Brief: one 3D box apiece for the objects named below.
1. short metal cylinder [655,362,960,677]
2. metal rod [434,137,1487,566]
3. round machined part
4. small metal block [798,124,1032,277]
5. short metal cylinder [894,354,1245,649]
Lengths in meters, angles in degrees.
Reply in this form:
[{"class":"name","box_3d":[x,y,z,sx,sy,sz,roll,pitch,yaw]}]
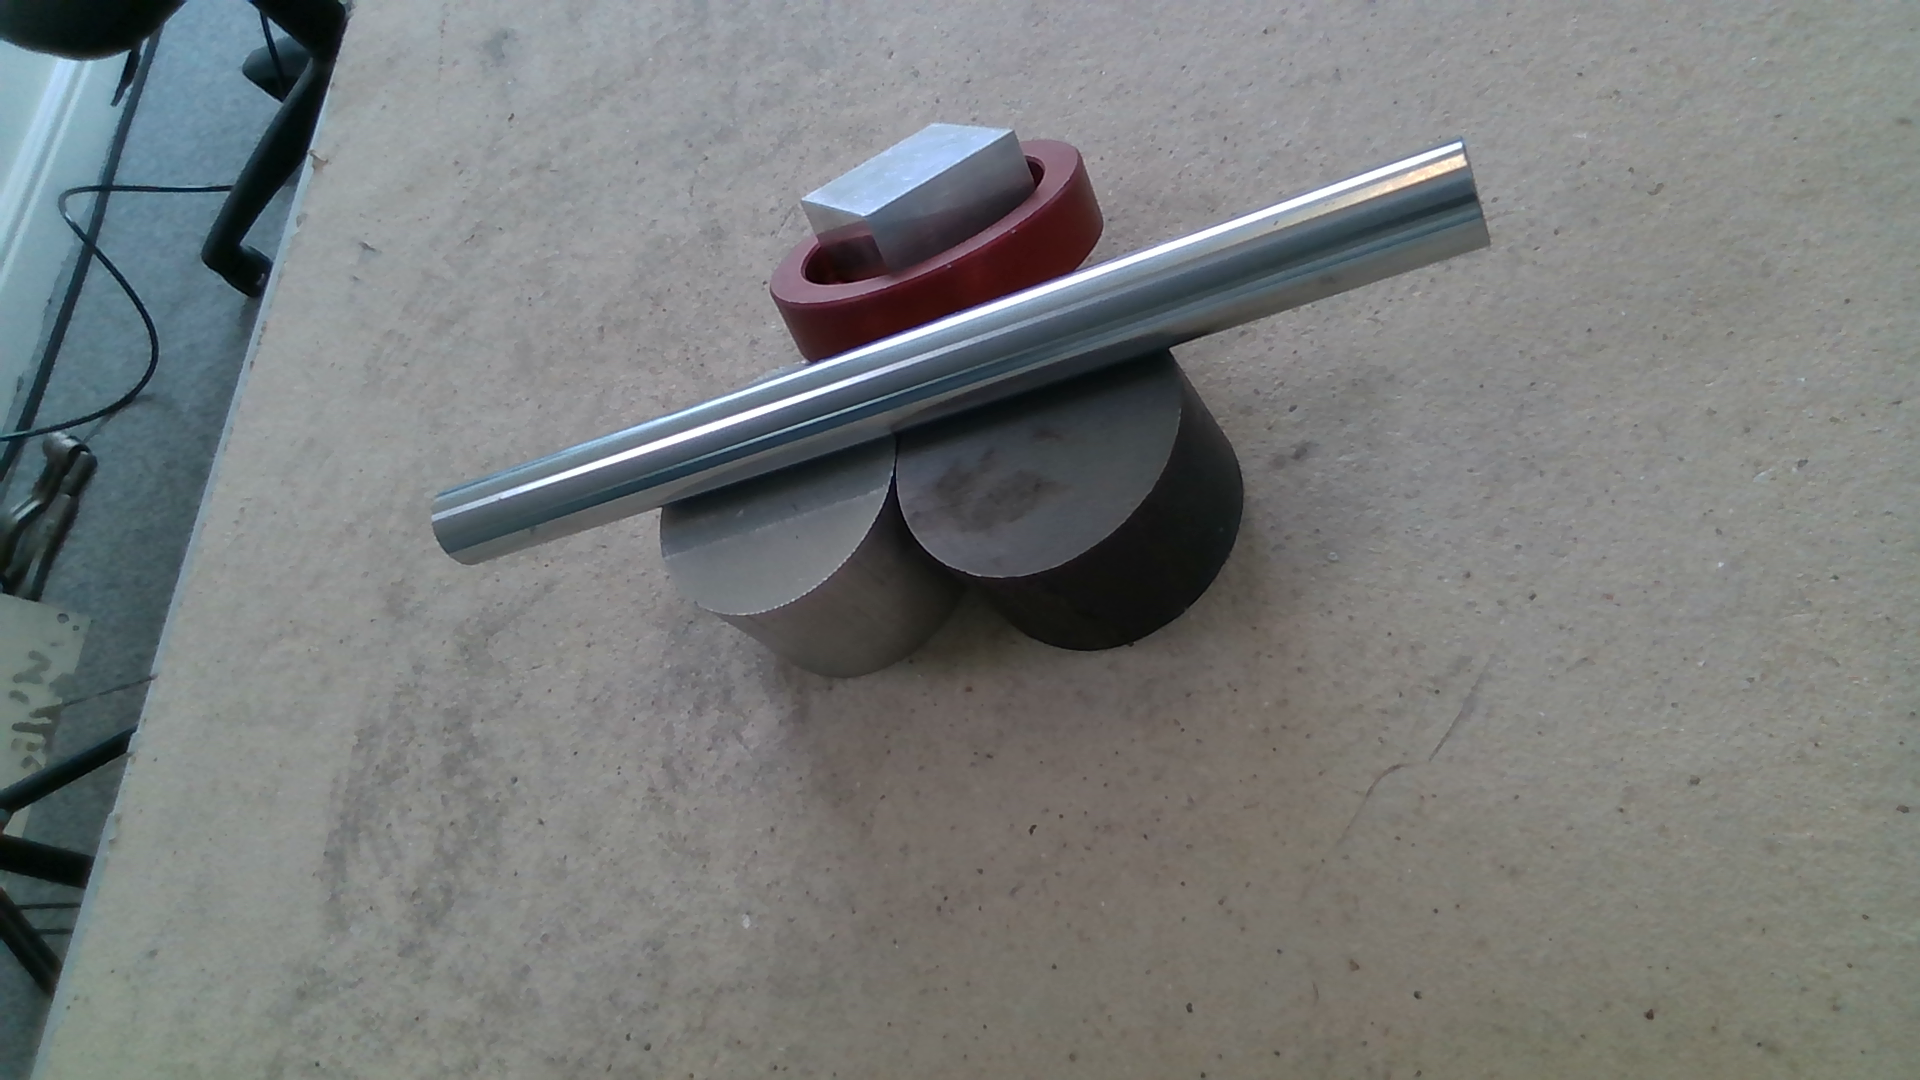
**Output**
[{"class":"short metal cylinder","box_3d":[-0.042,-0.006,0.405,0.080,0.050,0.080,-14,59,24]},{"class":"metal rod","box_3d":[-0.020,-0.040,0.363,0.300,0.025,0.025,-15,58,24]},{"class":"round machined part","box_3d":[-0.004,-0.077,0.409,0.098,0.042,0.098,-20,28,11]},{"class":"small metal block","box_3d":[-0.012,-0.097,0.399,0.050,0.025,0.050,-33,29,-14]},{"class":"short metal cylinder","box_3d":[0.029,-0.017,0.368,0.080,0.050,0.080,-14,59,25]}]
